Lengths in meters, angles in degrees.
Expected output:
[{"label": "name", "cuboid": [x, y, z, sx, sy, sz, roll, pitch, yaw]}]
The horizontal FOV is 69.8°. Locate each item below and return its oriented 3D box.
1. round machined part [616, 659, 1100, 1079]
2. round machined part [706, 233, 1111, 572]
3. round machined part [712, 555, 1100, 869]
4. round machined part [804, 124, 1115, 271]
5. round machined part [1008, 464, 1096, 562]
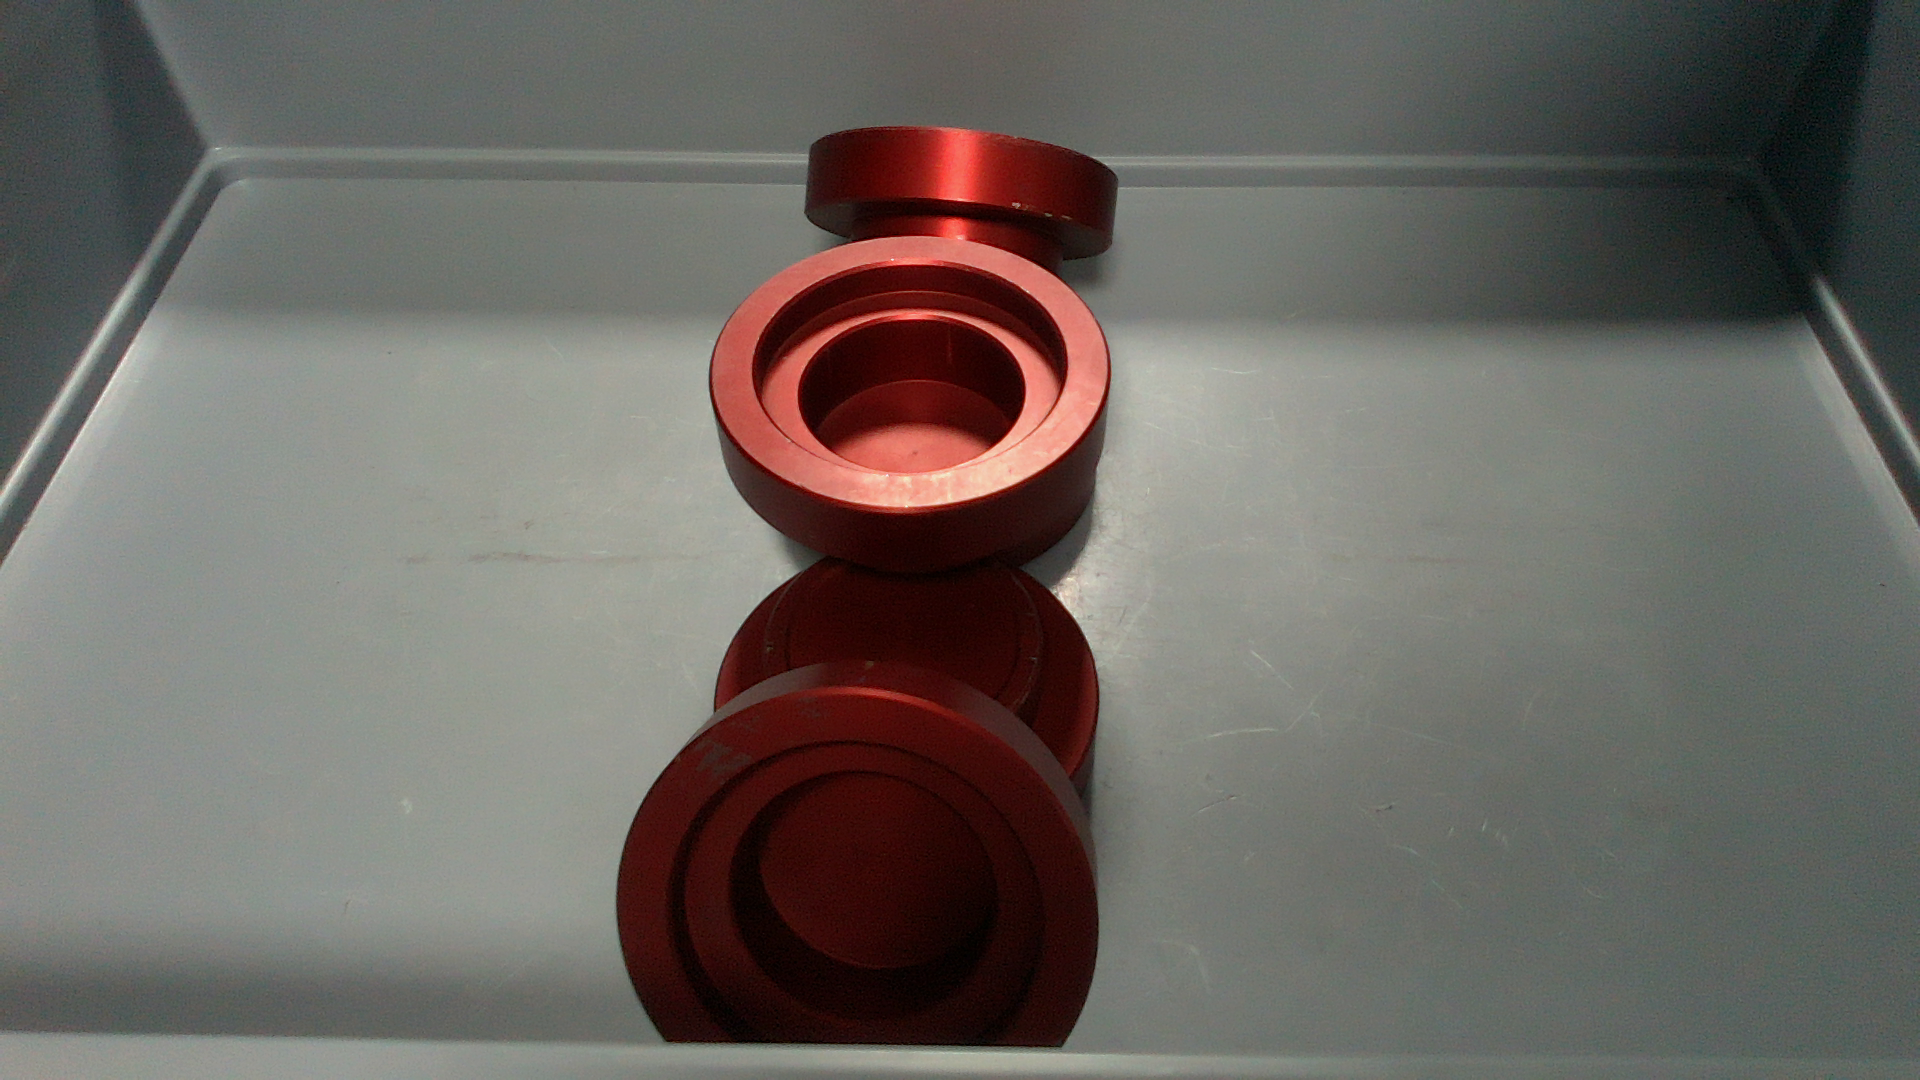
[{"label": "round machined part", "cuboid": [-0.019, 0.072, 0.295, 0.098, 0.098, 0.042, 5, 12, 4]}, {"label": "round machined part", "cuboid": [-0.012, -0.031, 0.349, 0.098, 0.042, 0.098, 0, 50, 0]}, {"label": "round machined part", "cuboid": [-0.014, 0.037, 0.347, 0.098, 0.042, 0.098, 0, 50, 0]}, {"label": "round machined part", "cuboid": [-0.001, -0.098, 0.438, 0.098, 0.098, 0.042, 5, 93, 5]}, {"label": "round machined part", "cuboid": [-0.007, -0.038, 0.411, 0.098, 0.042, 0.098, 0, 50, 0]}]
